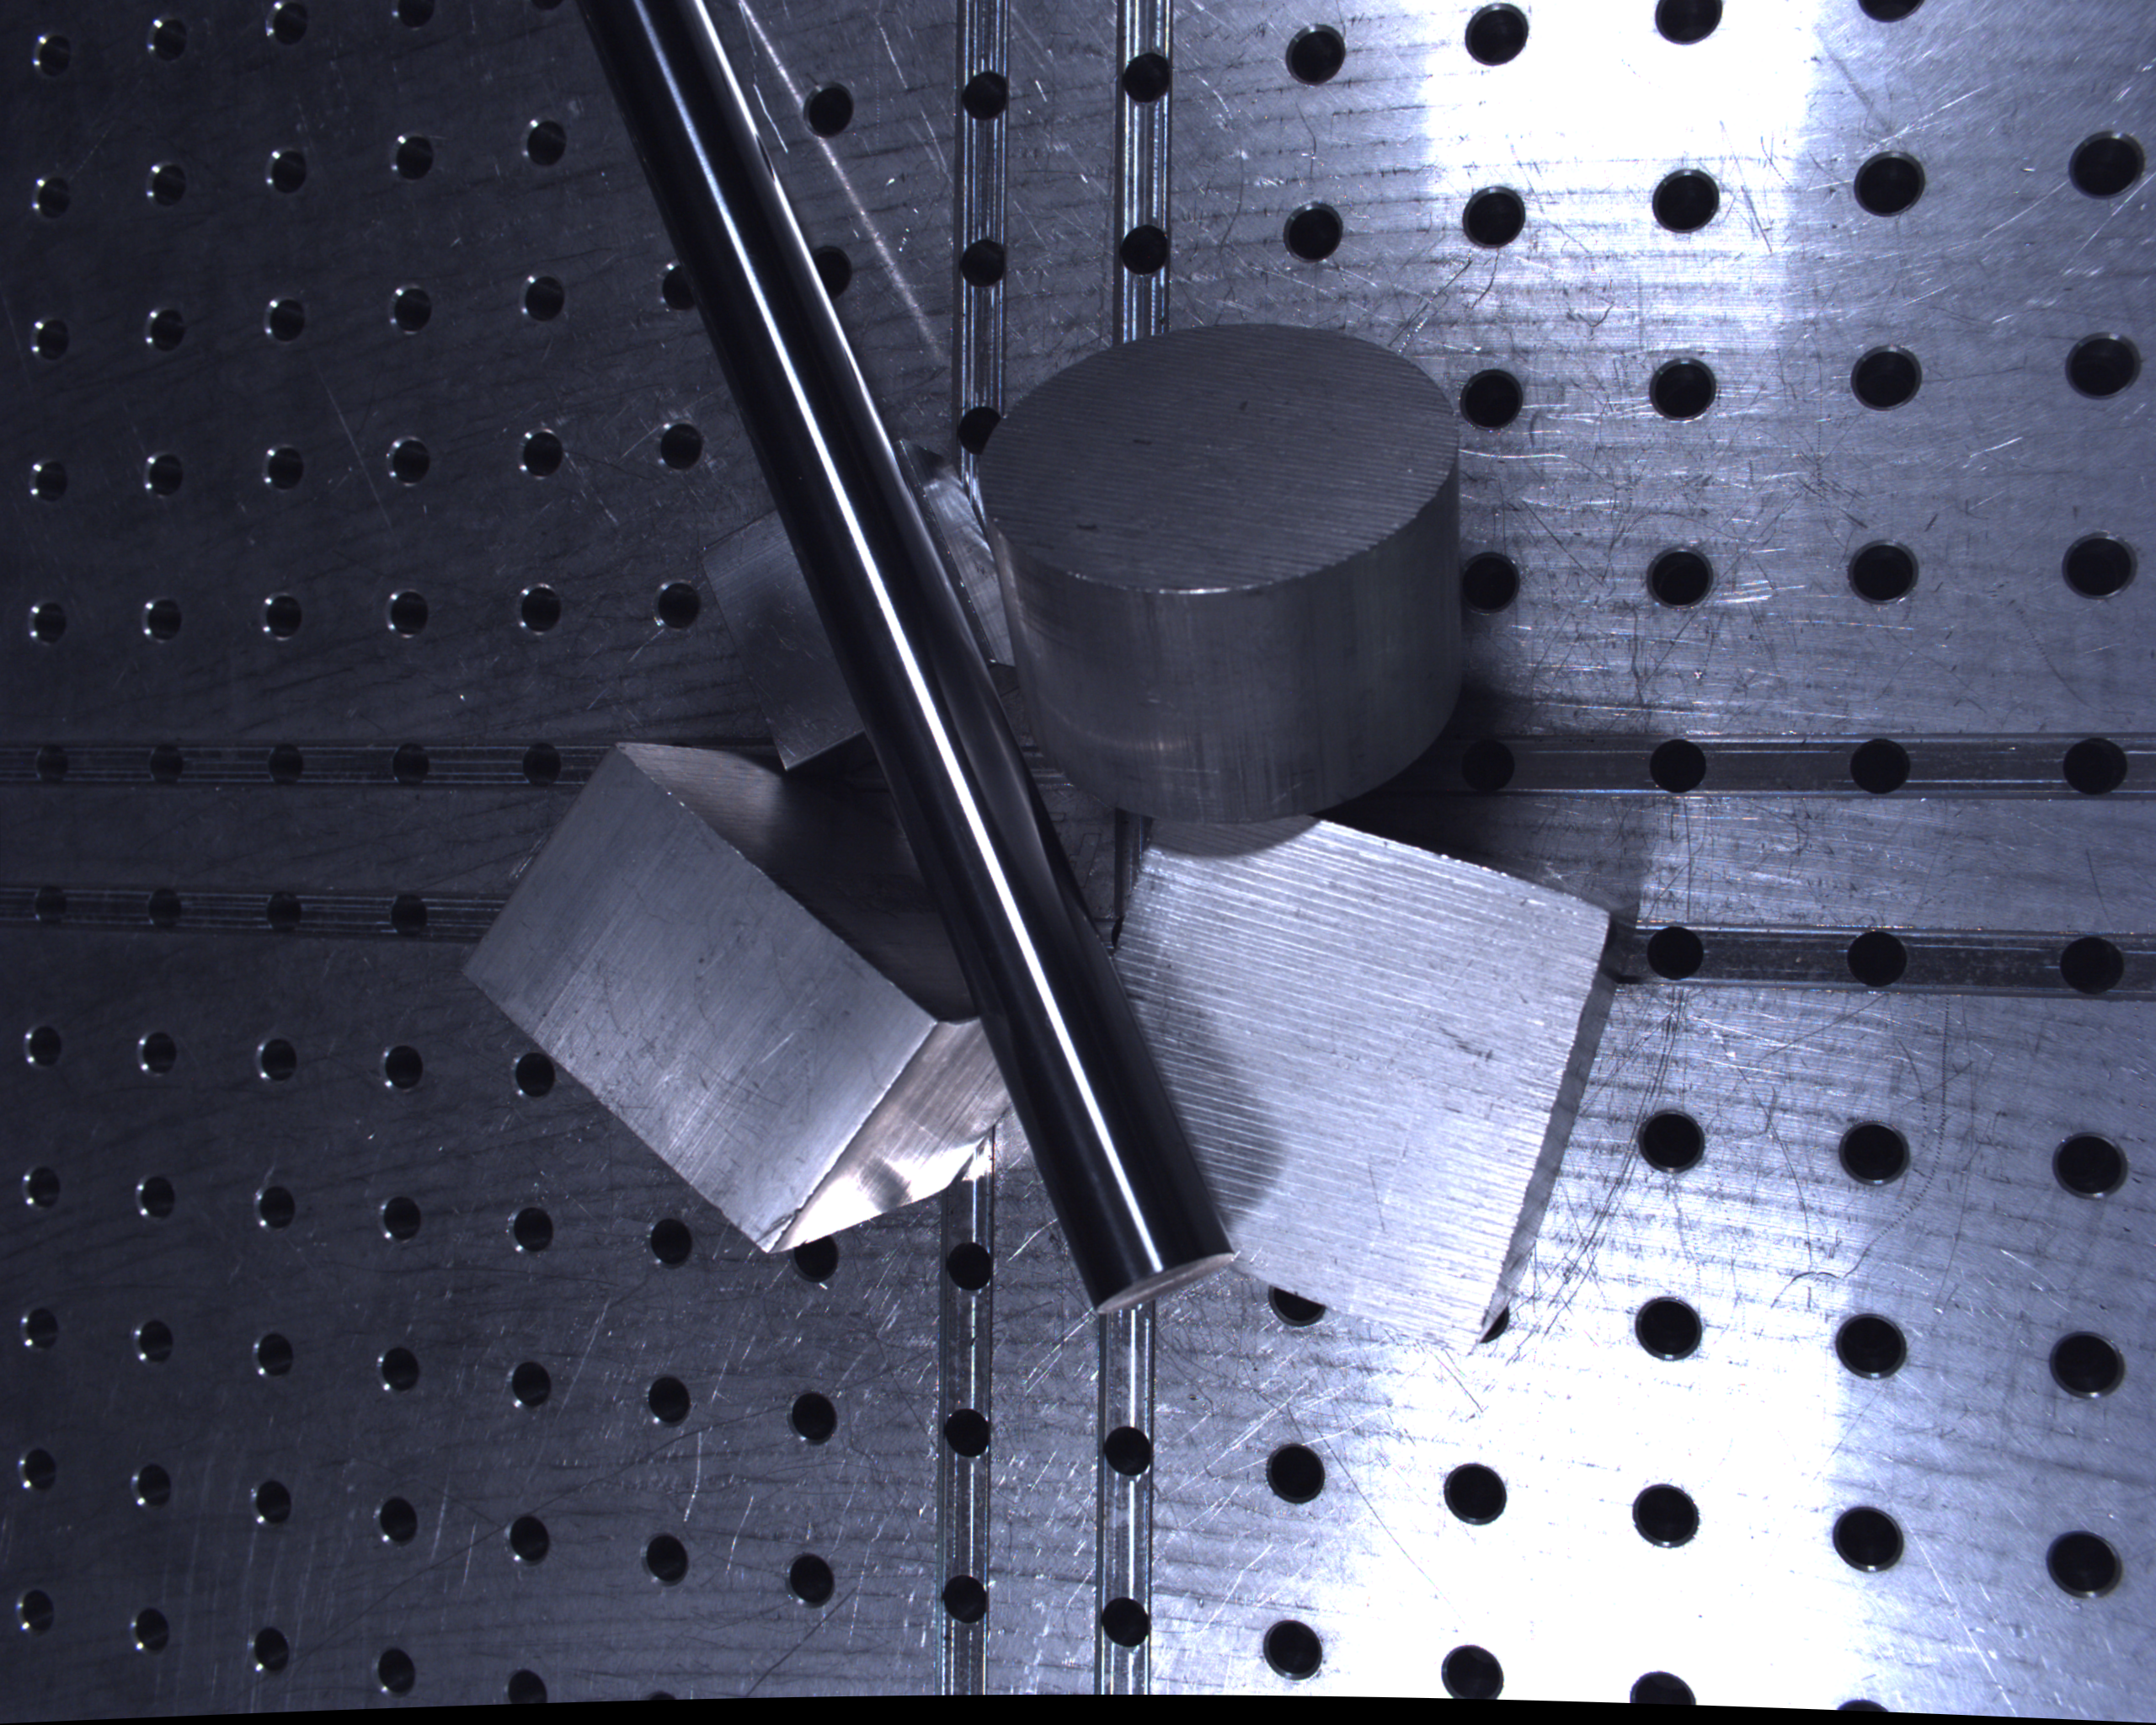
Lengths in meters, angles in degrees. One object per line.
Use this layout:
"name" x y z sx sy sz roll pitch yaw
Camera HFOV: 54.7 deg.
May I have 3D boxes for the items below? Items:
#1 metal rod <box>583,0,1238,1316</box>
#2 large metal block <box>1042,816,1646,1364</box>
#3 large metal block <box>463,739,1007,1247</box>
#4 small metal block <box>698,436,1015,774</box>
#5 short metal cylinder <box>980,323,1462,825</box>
"metal rod" -0.040 -0.060 0.394 0.025 0.025 0.299 -29 69 17
"large metal block" 0.050 0.034 0.381 0.080 0.050 0.080 19 96 18
"large metal block" -0.054 0.022 0.401 0.080 0.080 0.050 39 102 15
"small metal block" -0.042 -0.051 0.427 0.050 0.025 0.050 -25 82 18
"short metal cylinder" 0.027 -0.052 0.366 0.080 0.080 0.050 9 137 19
